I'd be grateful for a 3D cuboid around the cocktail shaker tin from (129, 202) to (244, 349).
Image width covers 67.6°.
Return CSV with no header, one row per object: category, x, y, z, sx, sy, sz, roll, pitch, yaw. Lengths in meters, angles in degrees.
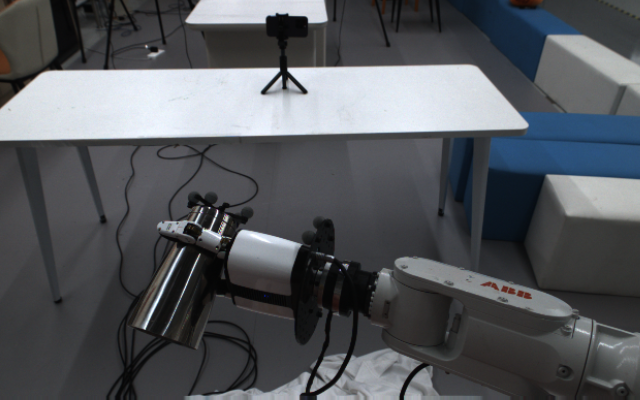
cocktail shaker tin,-0.167,0.094,0.629,0.093,0.093,0.170,13,65,15
